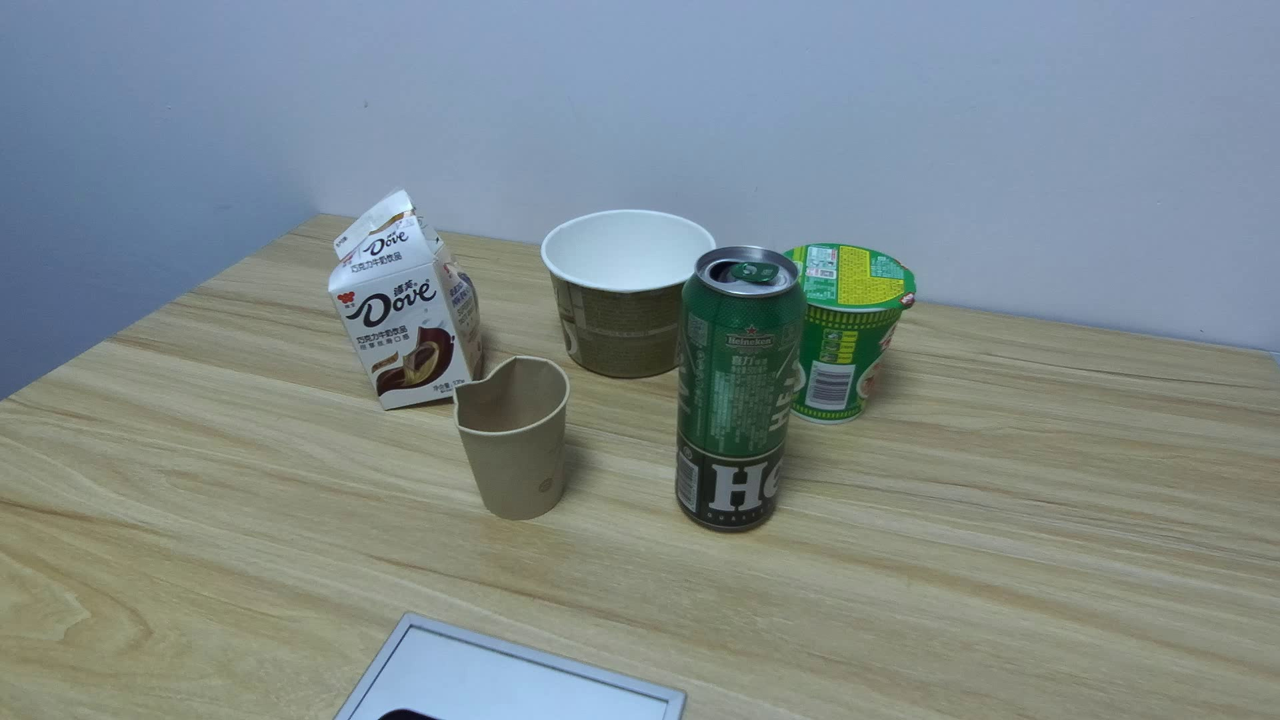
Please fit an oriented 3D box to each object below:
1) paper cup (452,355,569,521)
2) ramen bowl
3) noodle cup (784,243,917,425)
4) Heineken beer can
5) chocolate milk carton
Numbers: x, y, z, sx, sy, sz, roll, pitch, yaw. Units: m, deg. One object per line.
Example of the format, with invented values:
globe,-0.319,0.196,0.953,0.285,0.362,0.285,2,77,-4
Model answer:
paper cup,-0.076,0.053,0.448,0.069,0.081,0.073,-7,35,-10
ramen bowl,-0.008,-0.053,0.589,0.140,0.095,0.140,1,36,0
noodle cup,0.141,-0.015,0.519,0.097,0.110,0.097,0,35,1
Heineken beer can,0.056,0.022,0.416,0.067,0.169,0.067,0,34,0
chocolate milk carton,-0.174,-0.043,0.532,0.089,0.156,0.076,-18,33,-1
